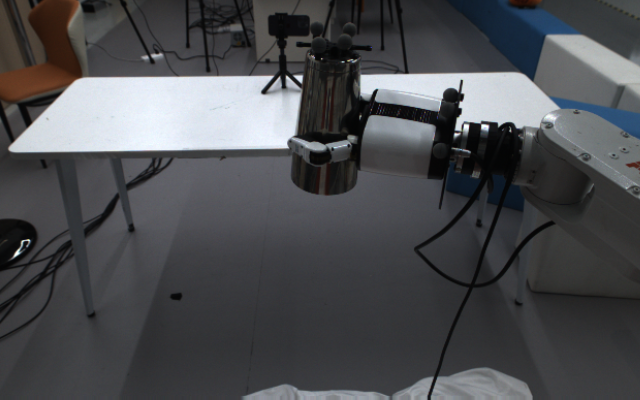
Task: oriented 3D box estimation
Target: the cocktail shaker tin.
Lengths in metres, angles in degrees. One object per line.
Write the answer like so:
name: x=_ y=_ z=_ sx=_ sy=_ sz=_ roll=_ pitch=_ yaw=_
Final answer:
cocktail shaker tin: x=0.012 y=-0.103 z=0.617 sx=0.093 sy=0.170 sz=0.093 roll=3 pitch=34 yaw=-2
